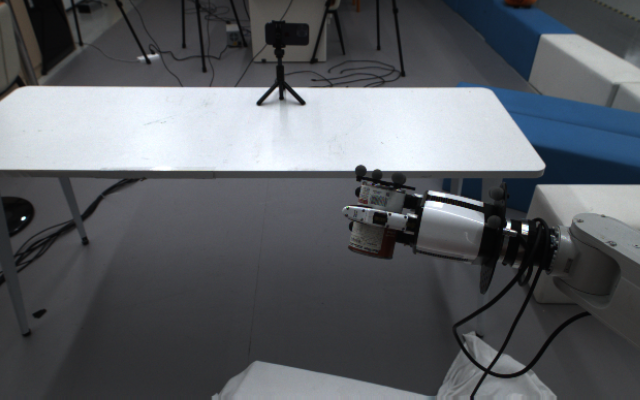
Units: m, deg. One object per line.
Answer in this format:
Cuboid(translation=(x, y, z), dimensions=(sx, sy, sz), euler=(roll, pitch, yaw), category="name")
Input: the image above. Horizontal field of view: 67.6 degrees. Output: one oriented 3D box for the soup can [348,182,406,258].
Cuboid(translation=(0.085, 0.030, 0.711), dimensions=(0.067, 0.101, 0.067), euler=(12, 2, 0), category="soup can")
